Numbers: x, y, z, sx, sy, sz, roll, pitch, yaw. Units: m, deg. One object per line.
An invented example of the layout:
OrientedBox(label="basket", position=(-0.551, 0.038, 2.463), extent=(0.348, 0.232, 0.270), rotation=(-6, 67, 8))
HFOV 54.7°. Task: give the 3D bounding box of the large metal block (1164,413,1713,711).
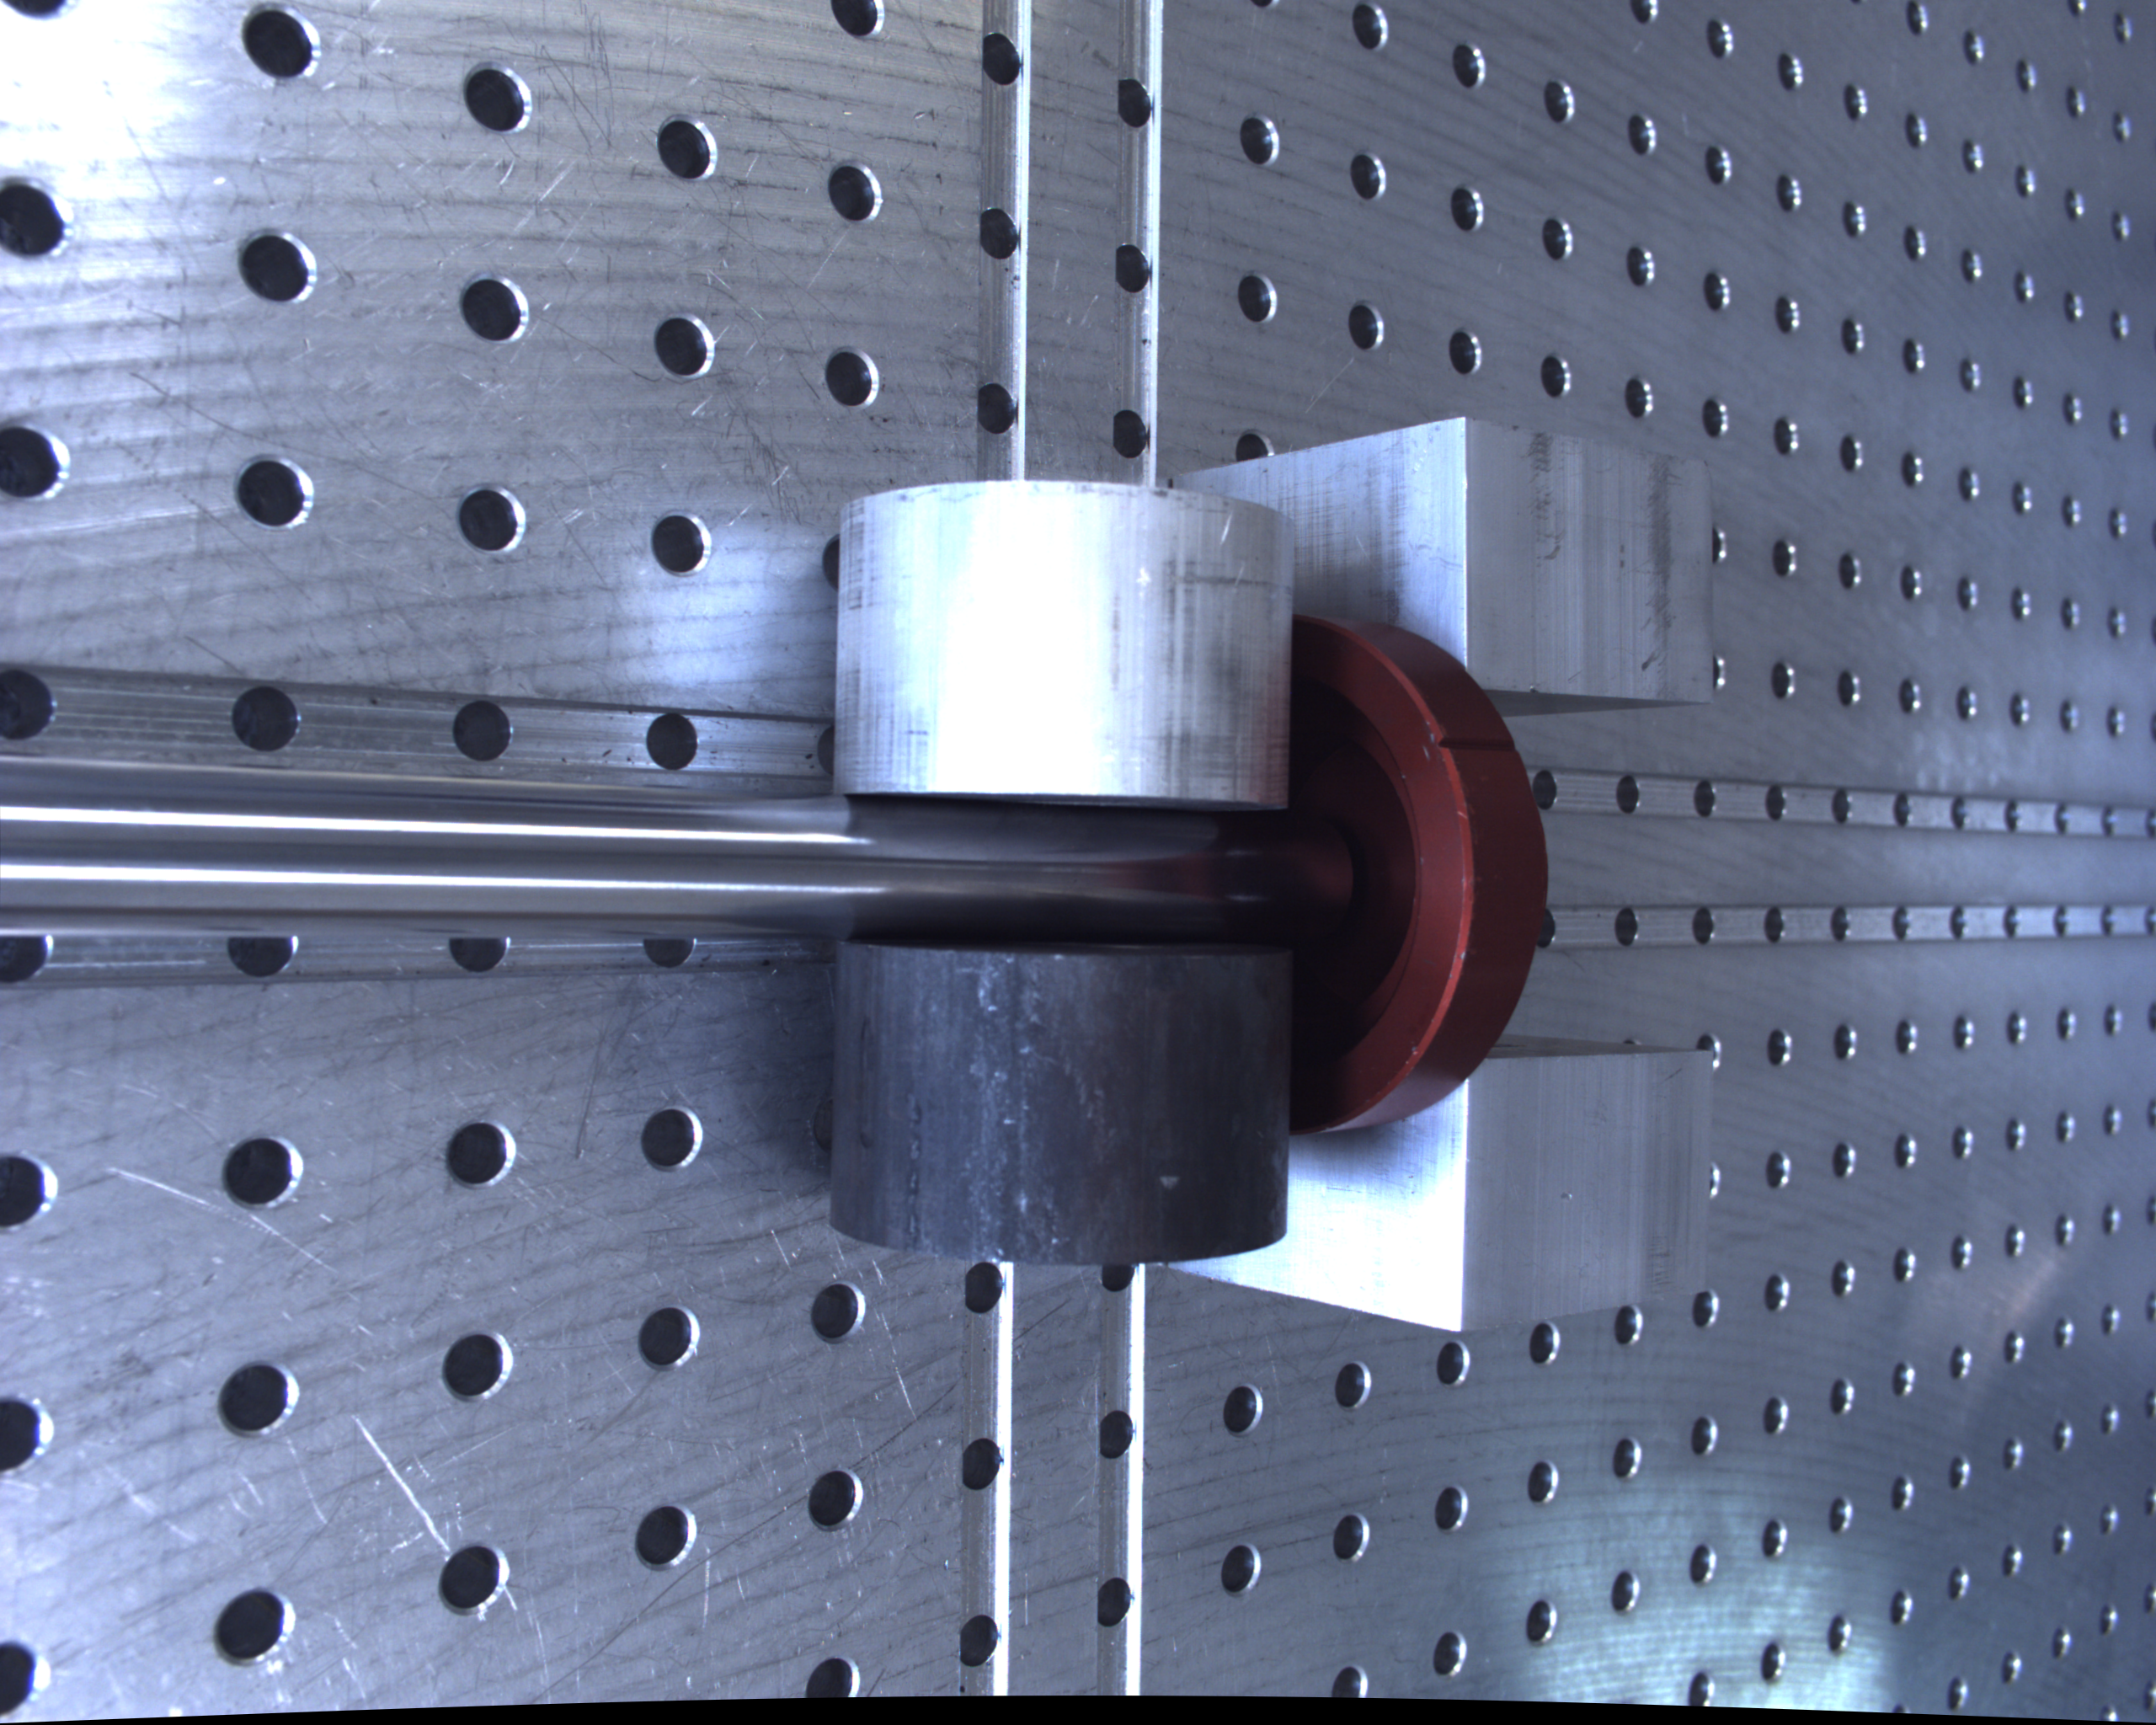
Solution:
OrientedBox(label="large metal block", position=(0.075, -0.058, 0.437), extent=(0.081, 0.080, 0.050), rotation=(0, 91, -40))

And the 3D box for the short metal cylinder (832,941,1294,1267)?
OrientedBox(label="short metal cylinder", position=(-0.003, 0.039, 0.370), extent=(0.081, 0.080, 0.050), rotation=(2, 90, -40))

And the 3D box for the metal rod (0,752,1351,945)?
OrientedBox(label="metal rod", position=(-0.076, 0.000, 0.330), extent=(0.302, 0.025, 0.025), rotation=(2, 89, -36))

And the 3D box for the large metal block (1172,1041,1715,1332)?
OrientedBox(label="large metal block", position=(0.074, 0.062, 0.437), extent=(0.081, 0.080, 0.050), rotation=(3, 88, -40))

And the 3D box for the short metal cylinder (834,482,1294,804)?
OrientedBox(label="short metal cylinder", position=(-0.002, -0.036, 0.371), extent=(0.081, 0.080, 0.050), rotation=(1, 90, -40))

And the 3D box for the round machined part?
OrientedBox(label="round machined part", position=(0.051, 0.002, 0.404), extent=(0.042, 0.098, 0.097), rotation=(1, 90, -40))
